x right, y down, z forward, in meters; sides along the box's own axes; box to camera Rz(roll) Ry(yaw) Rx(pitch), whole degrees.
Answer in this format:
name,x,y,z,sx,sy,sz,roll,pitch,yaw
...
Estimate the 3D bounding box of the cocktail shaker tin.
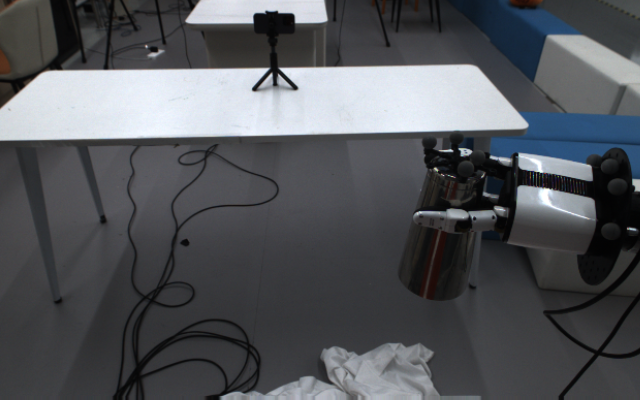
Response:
name,x,y,z,sx,sy,sz,roll,pitch,yaw
cocktail shaker tin,0.159,0.029,0.612,0.093,0.170,0.093,3,33,-2
